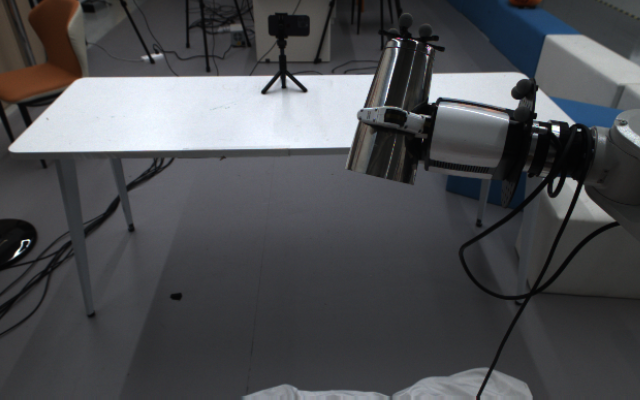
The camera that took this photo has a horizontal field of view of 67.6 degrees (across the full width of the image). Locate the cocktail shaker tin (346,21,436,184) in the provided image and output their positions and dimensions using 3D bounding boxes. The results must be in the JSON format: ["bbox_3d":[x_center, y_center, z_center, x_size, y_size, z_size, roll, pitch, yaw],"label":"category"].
[{"bbox_3d":[0.097,-0.113,0.623,0.093,0.170,0.093,13,4,-1],"label":"cocktail shaker tin"}]
